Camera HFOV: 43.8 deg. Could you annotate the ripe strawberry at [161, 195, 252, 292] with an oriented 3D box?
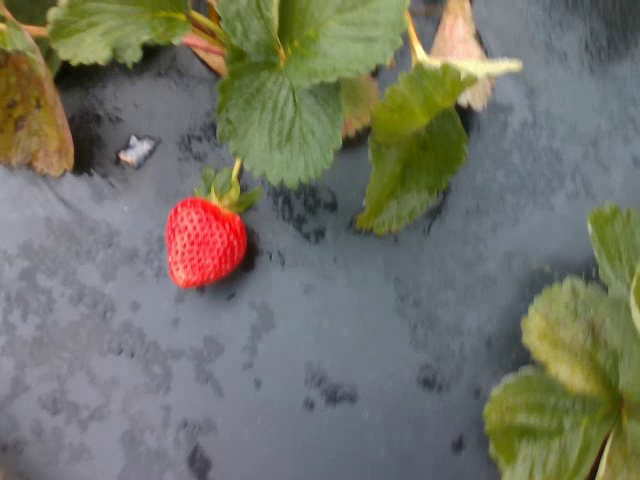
[{"bbox_3d":[-0.060,0.004,0.400,0.045,0.054,0.048,11,-36,28],"label":"ripe strawberry"}]
